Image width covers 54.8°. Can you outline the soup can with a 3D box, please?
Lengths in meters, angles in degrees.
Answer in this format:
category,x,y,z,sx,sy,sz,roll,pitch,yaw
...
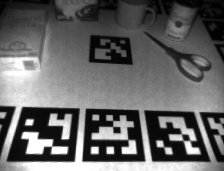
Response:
category,x,y,z,sx,sy,sz,roll,pitch,yaw
soup can,0.172,-0.178,0.569,0.068,0.102,0.067,3,52,-3

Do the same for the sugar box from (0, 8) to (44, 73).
category,x,y,z,sx,sy,sz,roll,pitch,yaw
sugar box,-0.212,-0.108,0.492,0.093,0.045,0.175,-1,55,-6

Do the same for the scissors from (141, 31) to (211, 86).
category,x,y,z,sx,sy,sz,roll,pitch,yaw
scissors,0.148,-0.082,0.536,0.088,0.016,0.201,-39,68,-20

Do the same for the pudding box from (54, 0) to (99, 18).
category,x,y,z,sx,sy,sz,roll,pitch,yaw
pudding box,-0.092,-0.222,0.558,0.114,0.090,0.038,-6,61,-12

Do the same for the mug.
category,x,y,z,sx,sy,sz,roll,pitch,yaw
mug,0.056,-0.213,0.581,0.094,0.082,0.116,-31,61,-23
